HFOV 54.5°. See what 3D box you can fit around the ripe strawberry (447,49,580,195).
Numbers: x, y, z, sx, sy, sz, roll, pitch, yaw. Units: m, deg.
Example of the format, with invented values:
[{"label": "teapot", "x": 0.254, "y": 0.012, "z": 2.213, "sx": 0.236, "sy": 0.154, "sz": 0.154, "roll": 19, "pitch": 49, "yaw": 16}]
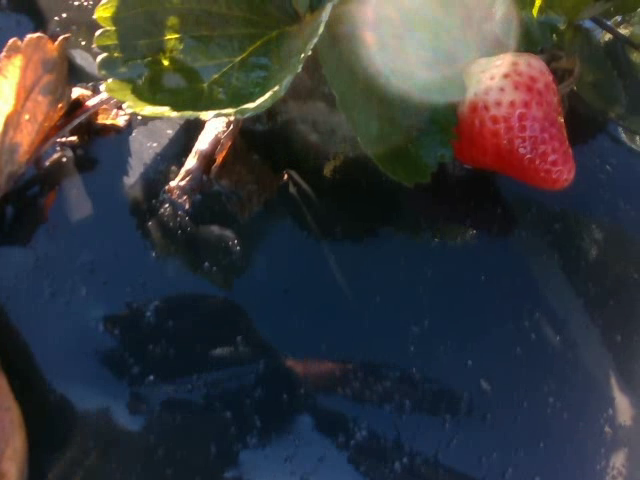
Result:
[{"label": "ripe strawberry", "x": 0.075, "y": -0.041, "z": 0.231, "sx": 0.040, "sy": 0.065, "sz": 0.040, "roll": -37, "pitch": 0, "yaw": -16}]
